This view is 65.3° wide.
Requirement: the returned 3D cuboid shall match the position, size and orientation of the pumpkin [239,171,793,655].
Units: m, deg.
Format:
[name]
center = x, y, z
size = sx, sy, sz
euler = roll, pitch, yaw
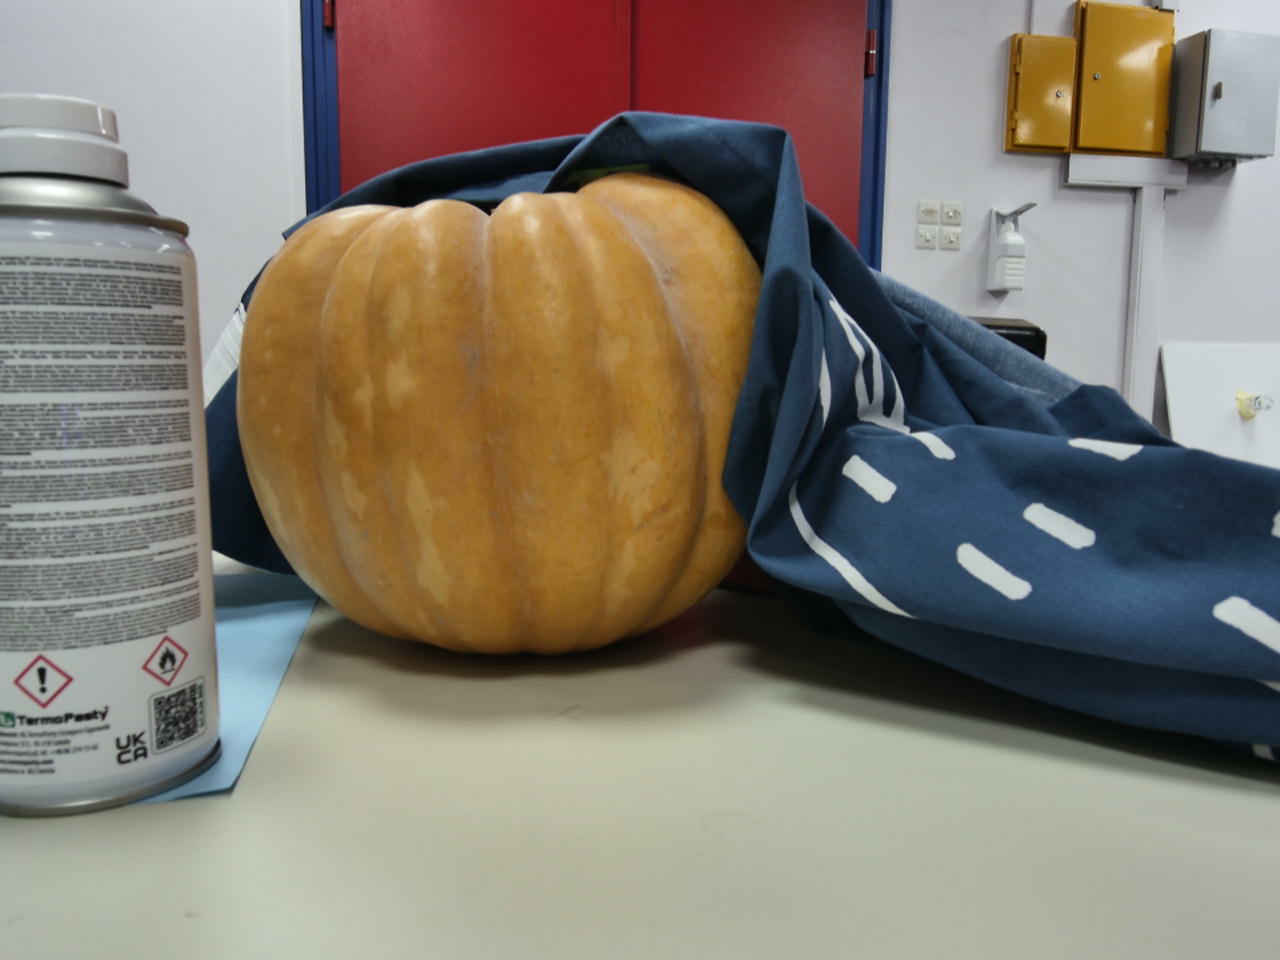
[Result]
[pumpkin]
center = -0.045, -0.028, 0.425
size = 0.230, 0.194, 0.230
euler = 0, 4, 0
